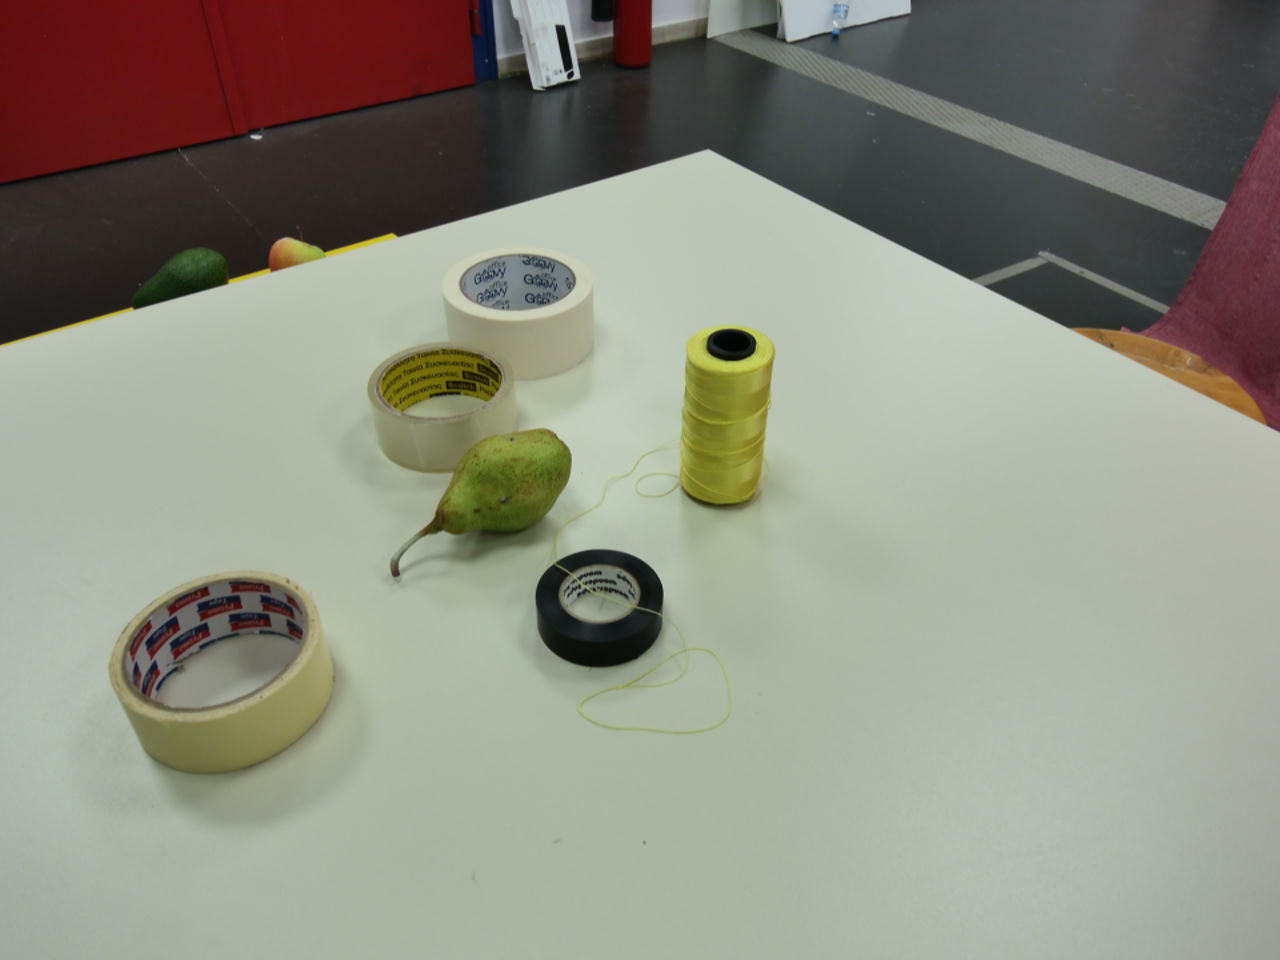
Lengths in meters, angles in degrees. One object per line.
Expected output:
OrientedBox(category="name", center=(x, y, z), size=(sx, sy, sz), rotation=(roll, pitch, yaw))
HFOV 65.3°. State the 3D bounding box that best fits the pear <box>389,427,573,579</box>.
OrientedBox(category="pear", center=(-0.092, 0.006, 0.555), size=(0.111, 0.056, 0.056), rotation=(-14, 41, -17))
